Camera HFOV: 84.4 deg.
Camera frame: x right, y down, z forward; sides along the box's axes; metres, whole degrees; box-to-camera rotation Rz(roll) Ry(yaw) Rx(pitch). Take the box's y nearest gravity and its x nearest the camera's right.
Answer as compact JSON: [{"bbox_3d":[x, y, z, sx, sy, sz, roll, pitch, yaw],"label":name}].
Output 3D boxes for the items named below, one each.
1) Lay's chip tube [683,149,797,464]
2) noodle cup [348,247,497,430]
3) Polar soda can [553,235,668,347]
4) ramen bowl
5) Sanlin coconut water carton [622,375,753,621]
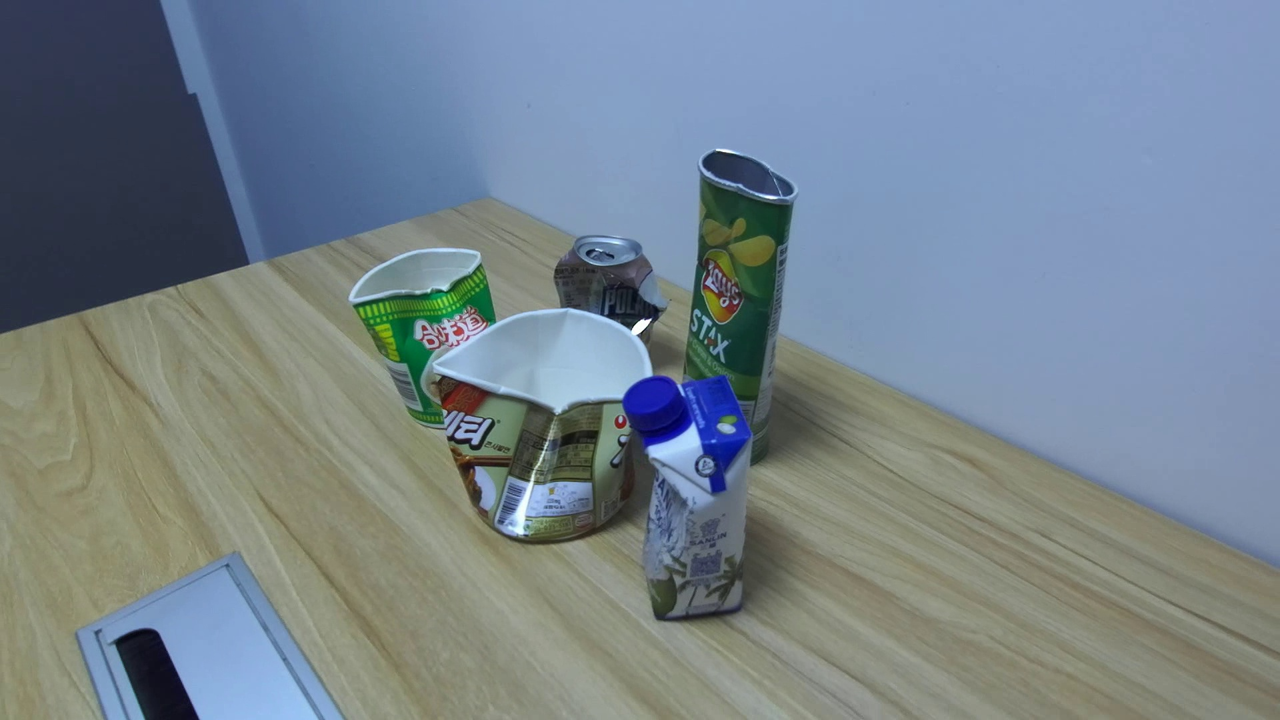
[{"bbox_3d":[0.060,-0.026,0.457,0.074,0.200,0.069,17,38,22],"label":"Lay's chip tube"},{"bbox_3d":[-0.147,-0.016,0.525,0.083,0.122,0.075,-11,27,0],"label":"noodle cup"},{"bbox_3d":[-0.023,-0.041,0.561,0.074,0.114,0.070,-19,43,-24],"label":"Polar soda can"},{"bbox_3d":[-0.052,0.039,0.458,0.137,0.098,0.137,3,34,-2],"label":"ramen bowl"},{"bbox_3d":[0.027,0.070,0.372,0.058,0.142,0.078,-8,34,-3],"label":"Sanlin coconut water carton"}]
